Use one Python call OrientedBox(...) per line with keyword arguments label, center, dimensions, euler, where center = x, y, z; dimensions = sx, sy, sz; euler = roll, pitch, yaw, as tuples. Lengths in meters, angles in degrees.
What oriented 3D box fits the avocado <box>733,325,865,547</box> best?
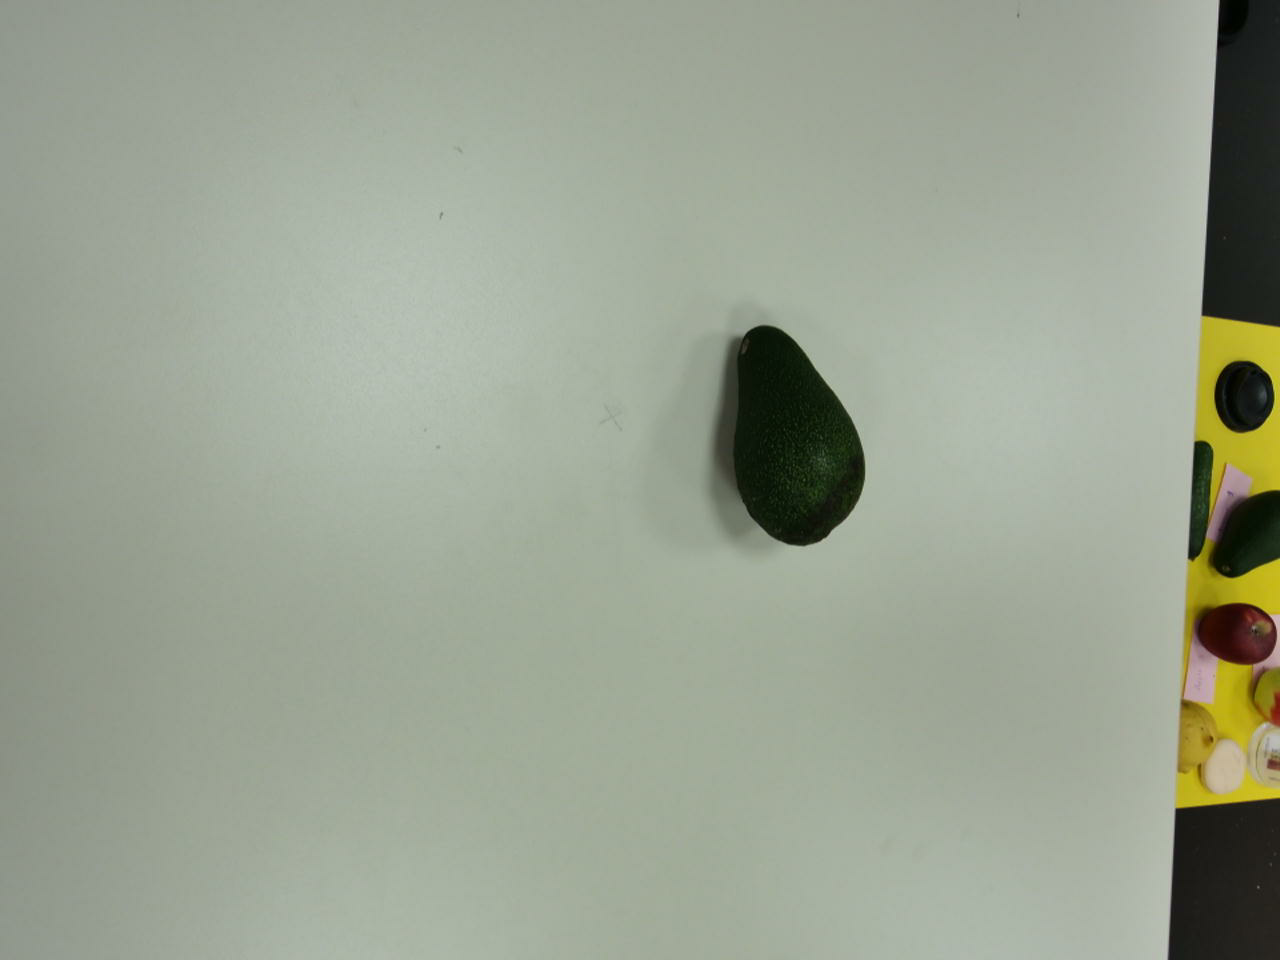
OrientedBox(label="avocado", center=(0.092, -0.024, 0.562), dimensions=(0.074, 0.076, 0.123), euler=(11, 86, -21))
